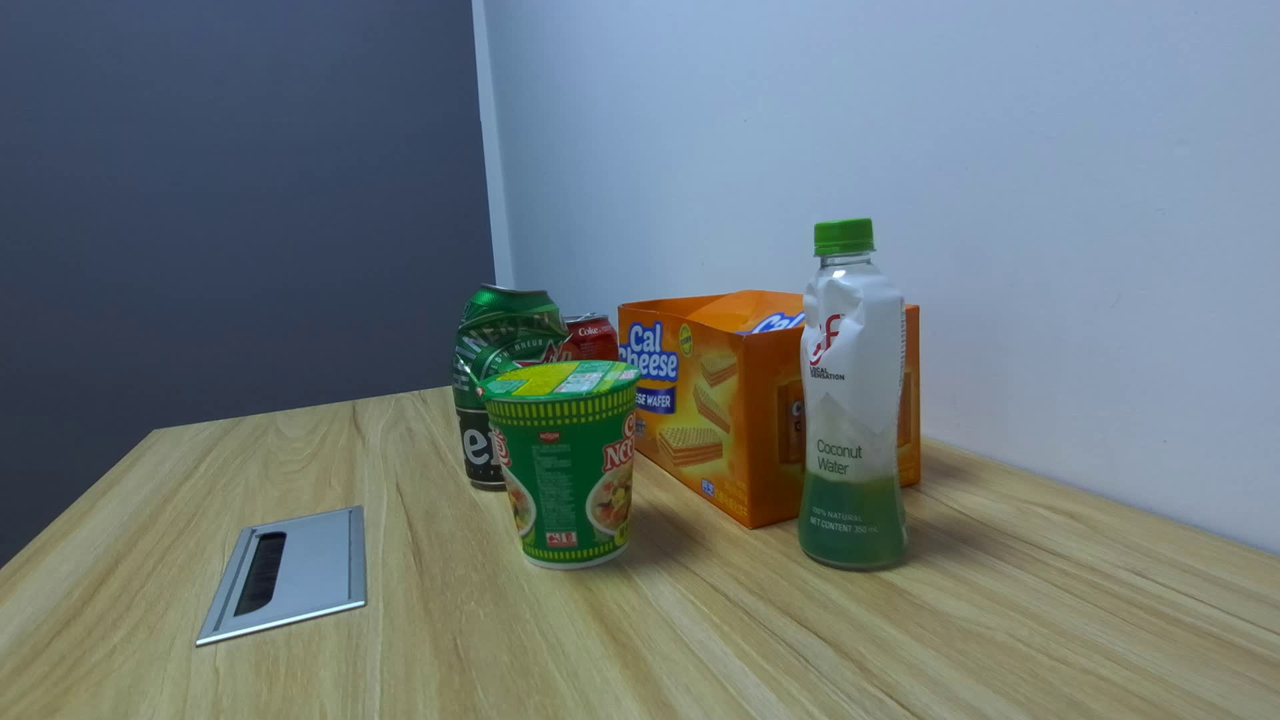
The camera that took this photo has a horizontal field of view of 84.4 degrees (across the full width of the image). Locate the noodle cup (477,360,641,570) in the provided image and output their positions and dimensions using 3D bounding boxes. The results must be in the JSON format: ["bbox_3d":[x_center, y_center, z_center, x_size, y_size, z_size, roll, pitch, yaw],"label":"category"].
[{"bbox_3d":[-0.043,0.062,0.434,0.097,0.110,0.097,-5,13,1],"label":"noodle cup"}]

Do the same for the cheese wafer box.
[{"bbox_3d":[0.084,0.021,0.557,0.153,0.132,0.229,-10,13,-23],"label":"cheese wafer box"}]

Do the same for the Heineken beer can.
[{"bbox_3d":[-0.106,0.022,0.566,0.079,0.159,0.067,-3,9,-37],"label":"Heineken beer can"}]

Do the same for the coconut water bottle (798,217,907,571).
[{"bbox_3d":[0.115,0.019,0.394,0.069,0.186,0.069,-5,10,1],"label":"coconut water bottle"}]
